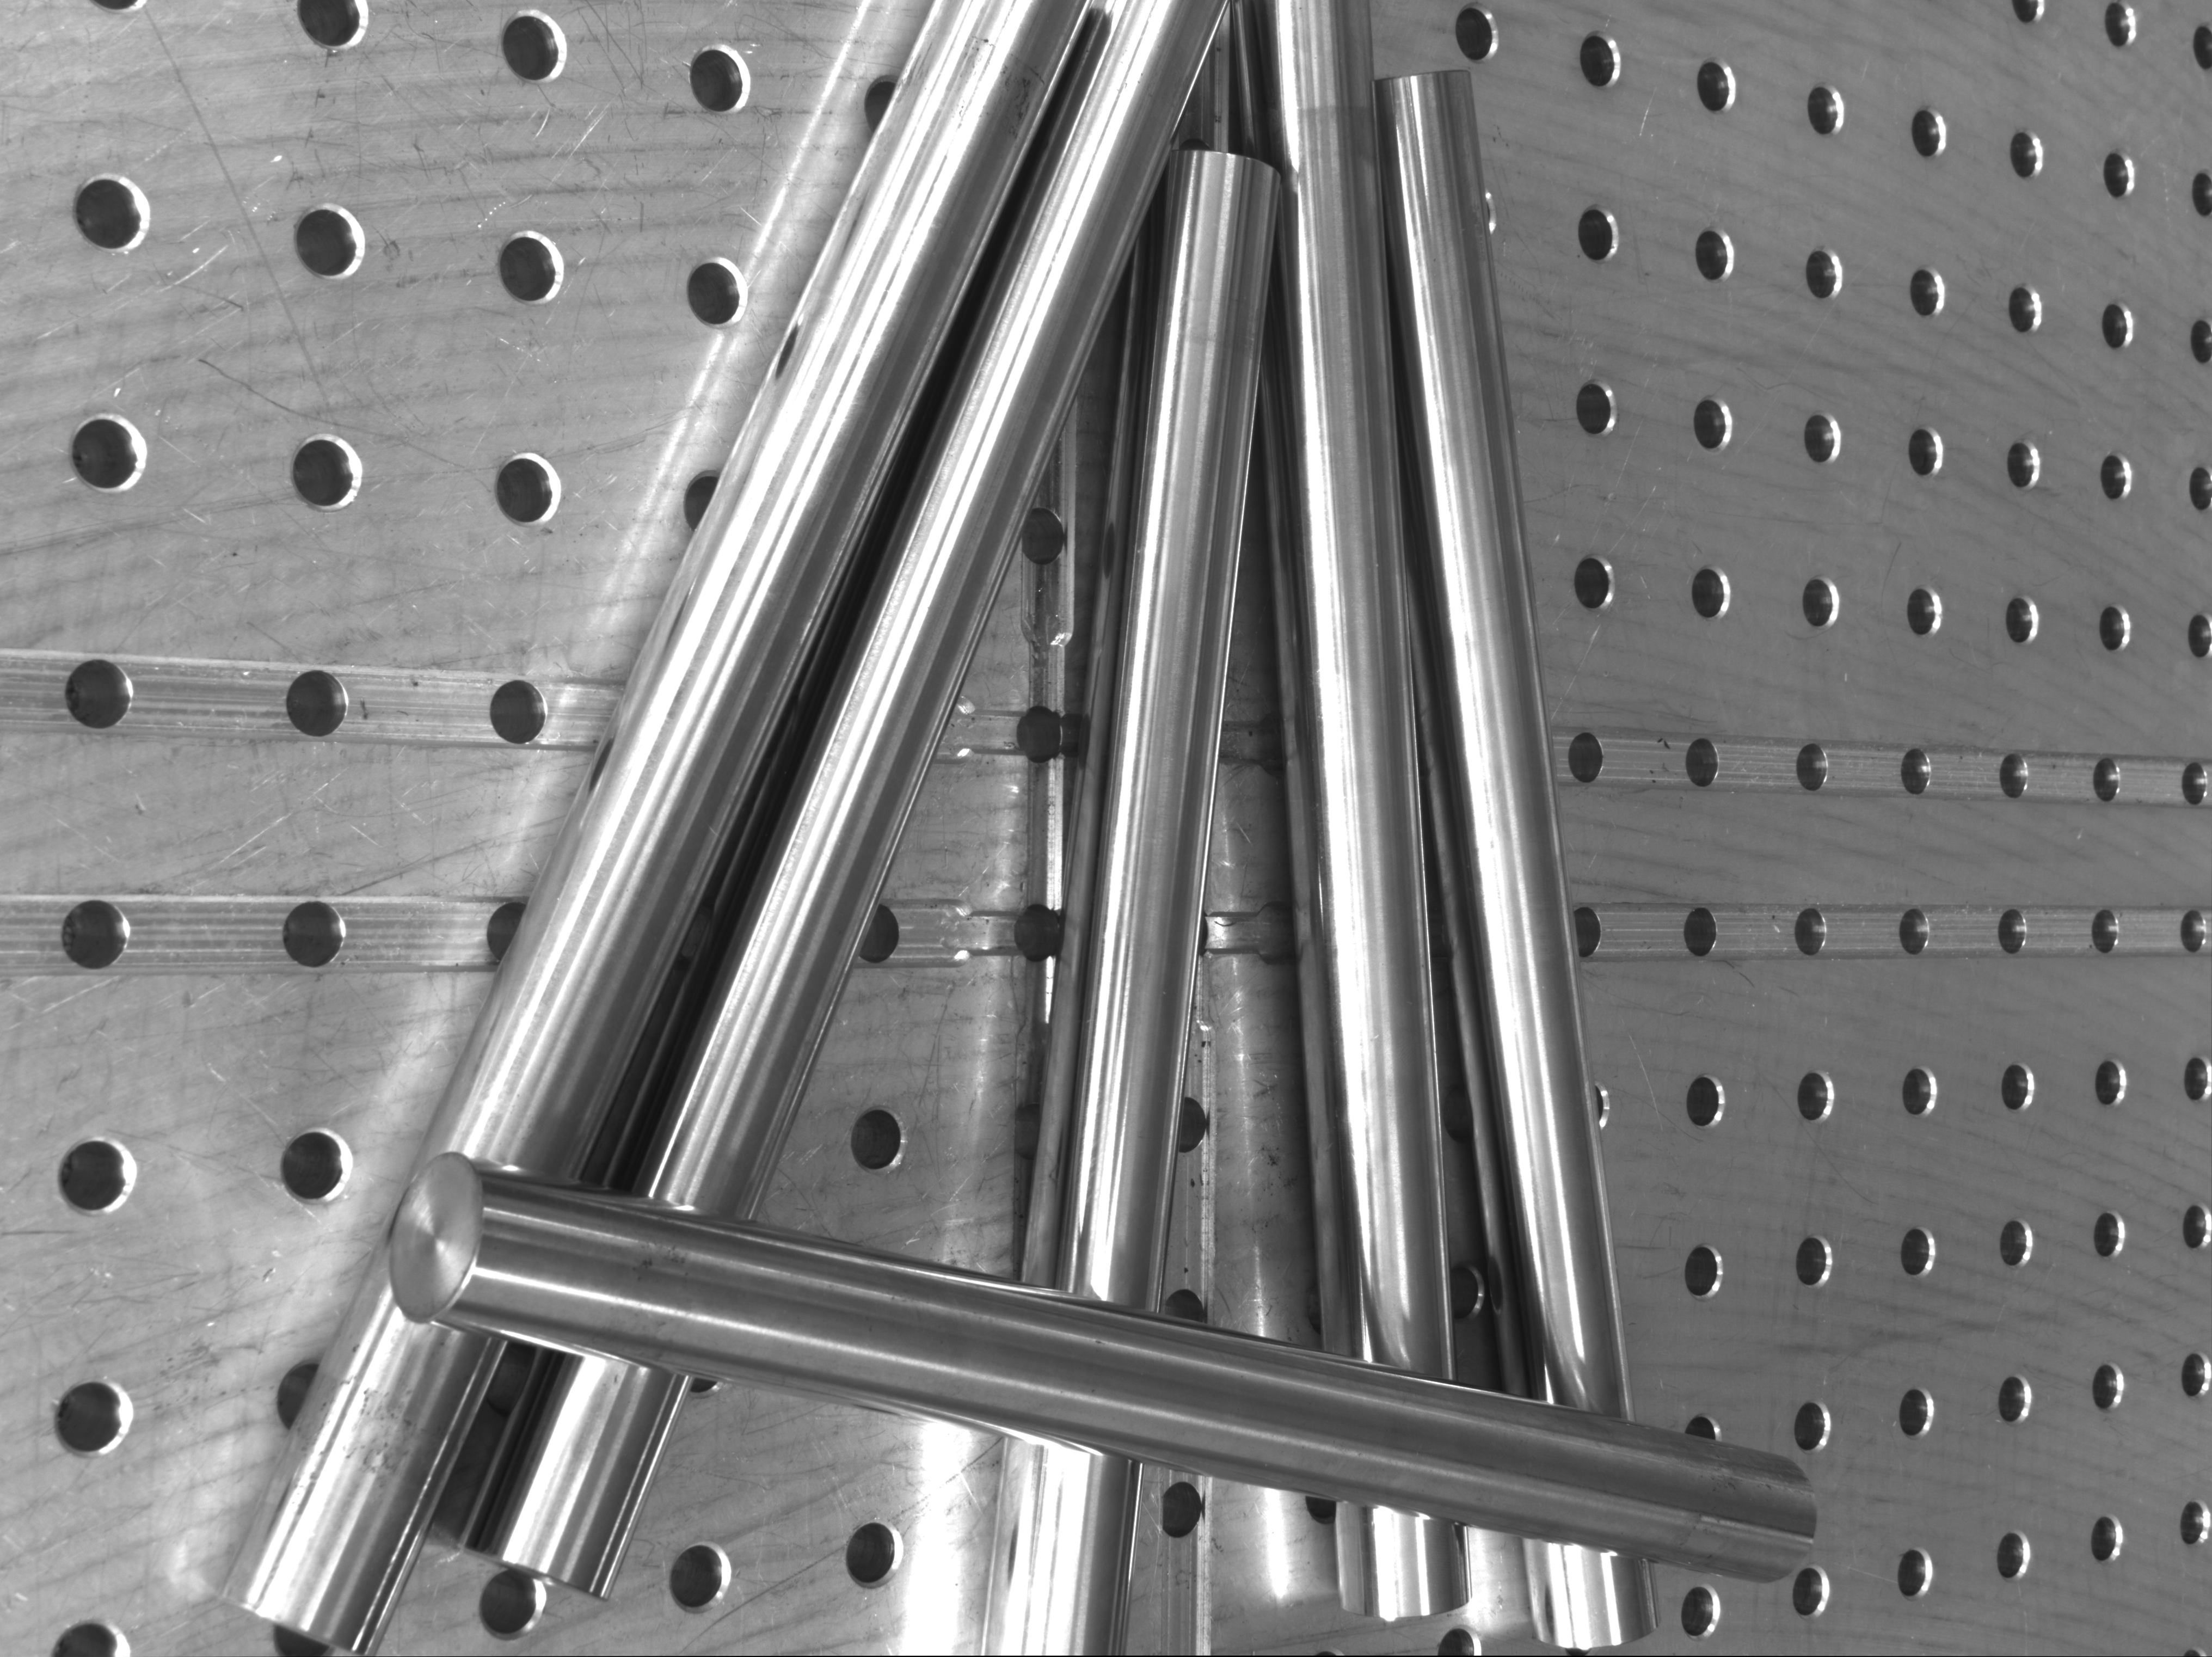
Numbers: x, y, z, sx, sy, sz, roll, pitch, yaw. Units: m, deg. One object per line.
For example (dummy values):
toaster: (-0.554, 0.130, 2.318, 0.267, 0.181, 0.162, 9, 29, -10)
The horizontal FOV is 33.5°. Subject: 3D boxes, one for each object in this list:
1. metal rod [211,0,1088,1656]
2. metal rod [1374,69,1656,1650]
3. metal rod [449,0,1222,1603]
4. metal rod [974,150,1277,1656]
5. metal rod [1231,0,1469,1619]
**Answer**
metal rod: (-0.067, -0.015, 0.583, 0.025, 0.025, 0.300, 34, 69, -34)
metal rod: (0.075, 0.008, 0.701, 0.025, 0.025, 0.300, -13, 98, -39)
metal rod: (-0.039, -0.020, 0.607, 0.025, 0.025, 0.300, 32, 70, -35)
metal rod: (0.002, 0.031, 0.641, 0.025, 0.025, 0.300, 10, 83, -39)
metal rod: (0.045, -0.005, 0.677, 0.025, 0.025, 0.300, -6, 94, -39)
